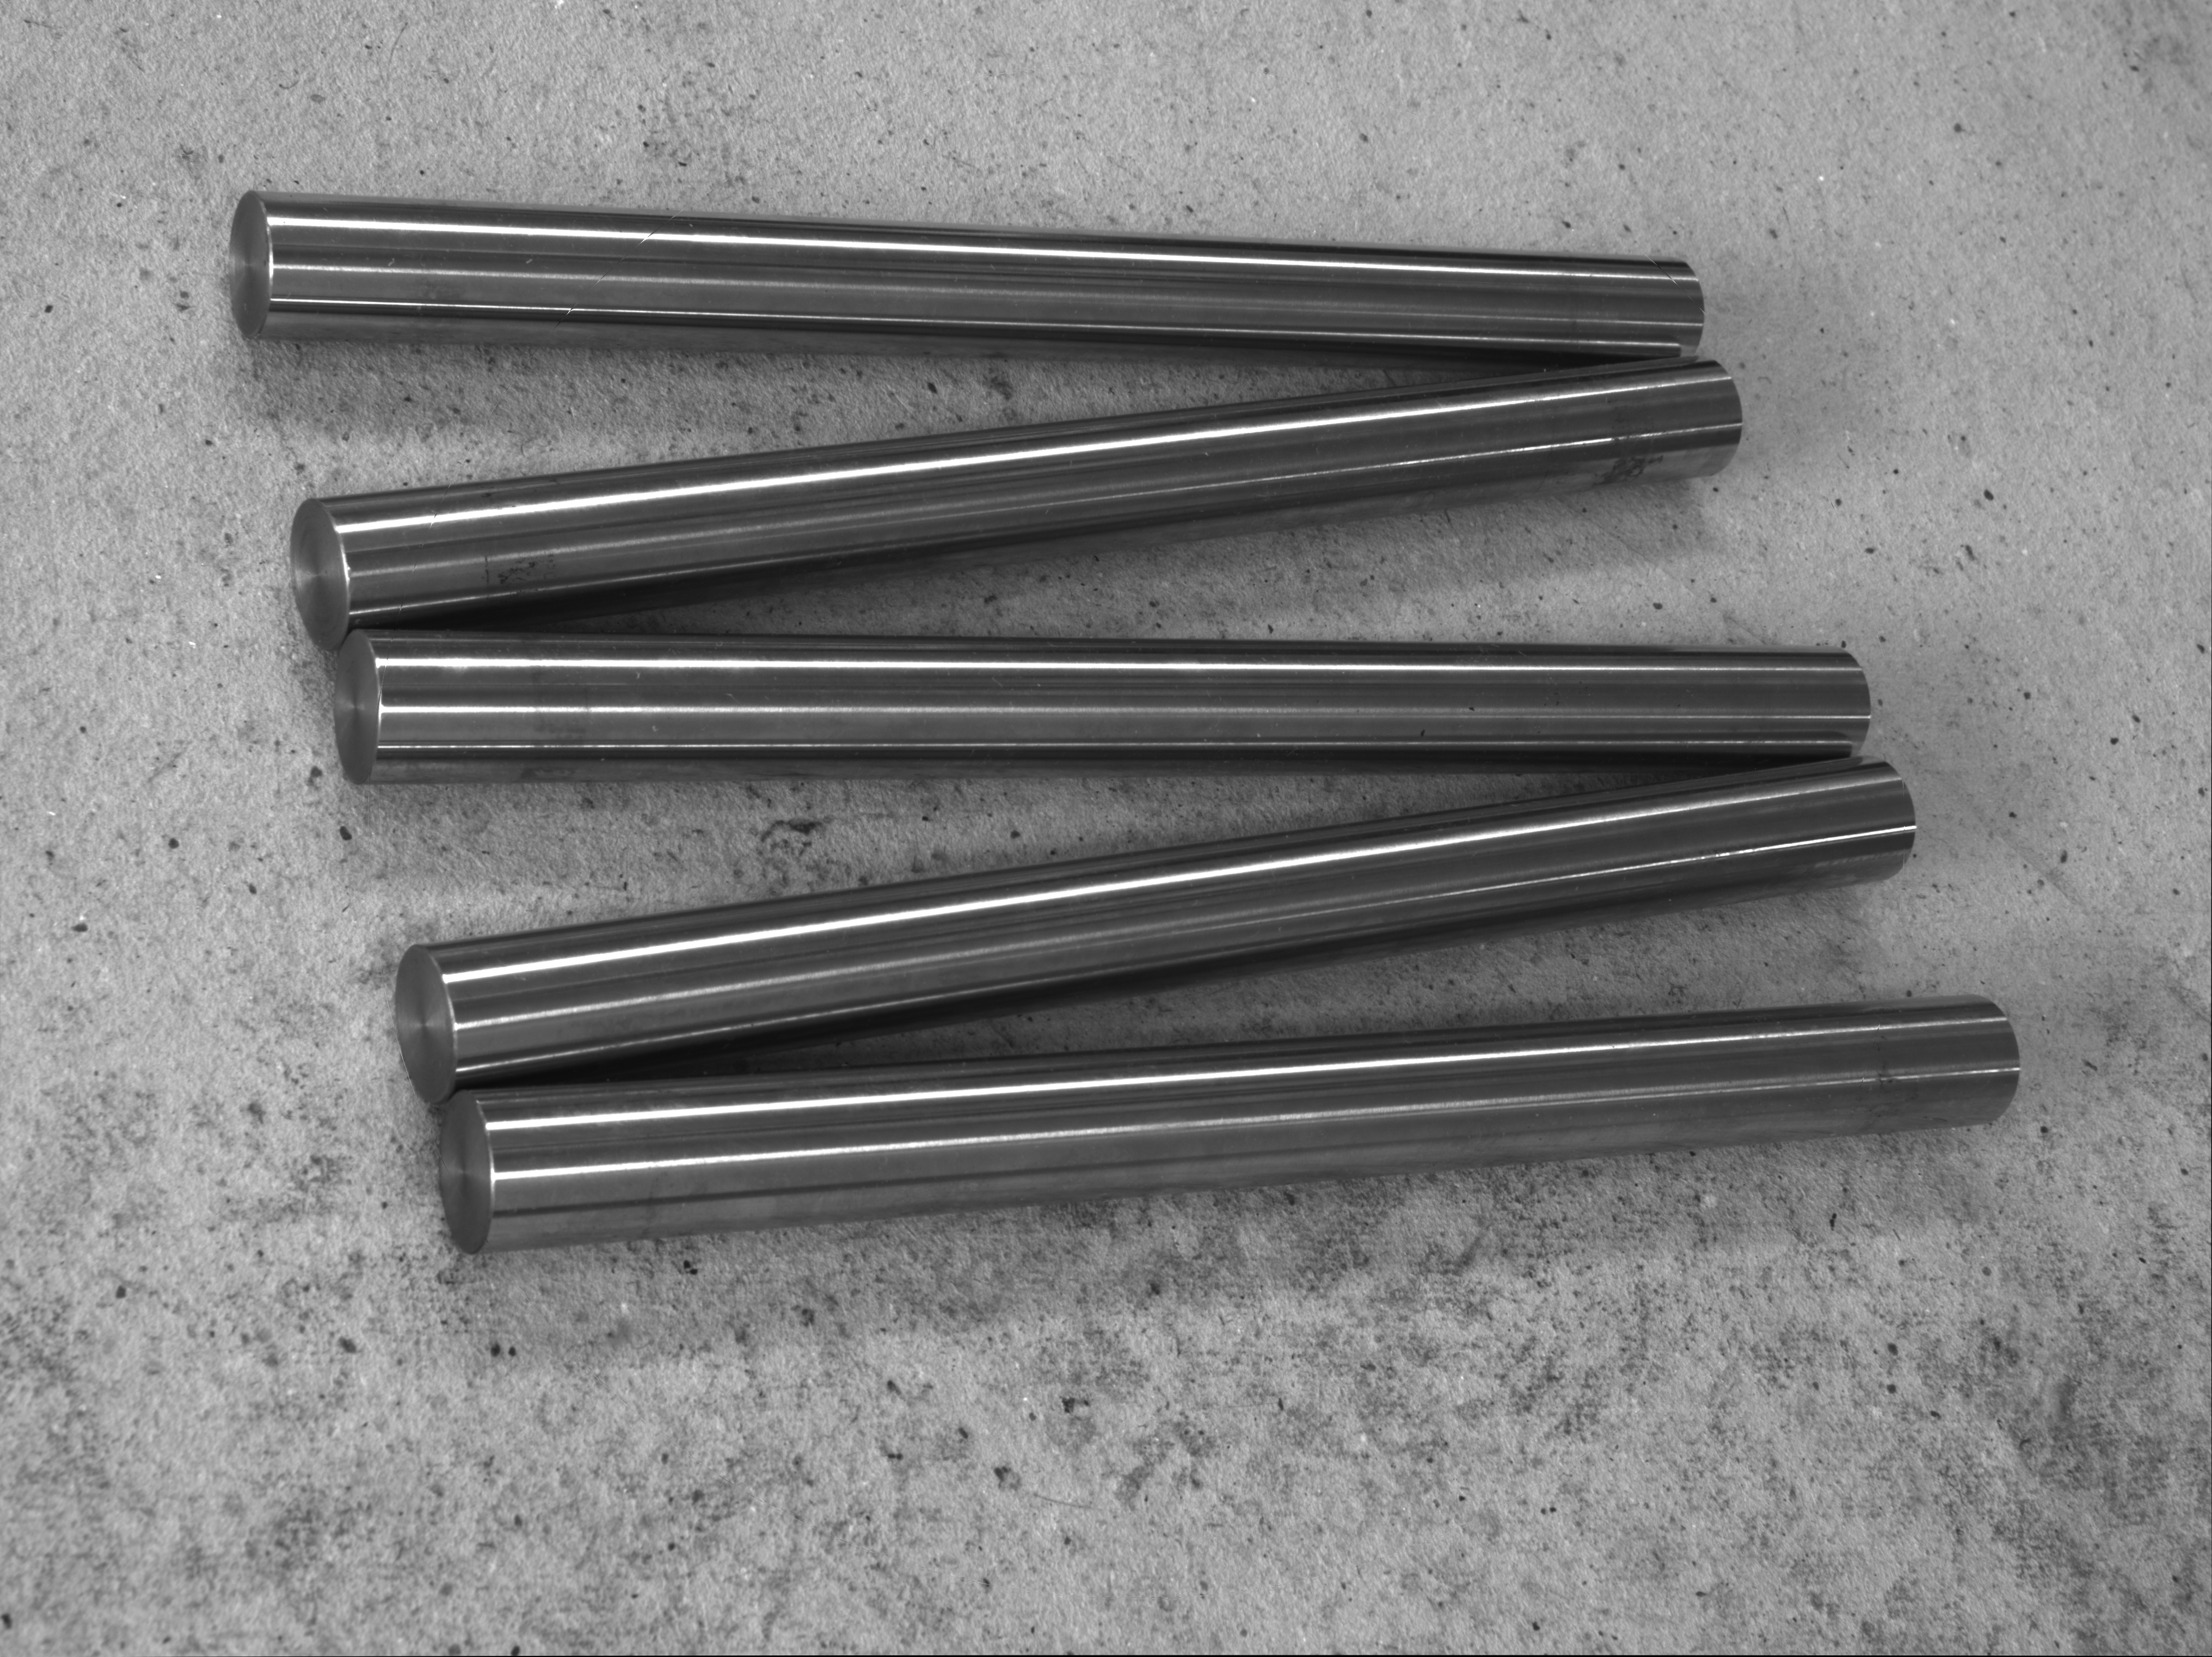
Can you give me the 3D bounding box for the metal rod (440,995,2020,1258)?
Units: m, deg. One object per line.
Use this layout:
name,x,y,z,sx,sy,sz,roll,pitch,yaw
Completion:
metal rod,0.035,0.048,0.628,0.301,0.025,0.025,-2,62,-29

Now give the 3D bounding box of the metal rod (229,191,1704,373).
metal rod,-0.014,-0.101,0.693,0.301,0.025,0.025,-3,63,-29

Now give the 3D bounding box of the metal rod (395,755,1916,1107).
metal rod,0.023,0.014,0.643,0.301,0.025,0.025,-7,65,-31

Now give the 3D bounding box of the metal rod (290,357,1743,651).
metal rod,-0.003,-0.063,0.676,0.301,0.025,0.025,-10,67,-32

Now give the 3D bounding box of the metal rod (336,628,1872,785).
metal rod,0.012,-0.022,0.659,0.301,0.025,0.025,-1,62,-29
